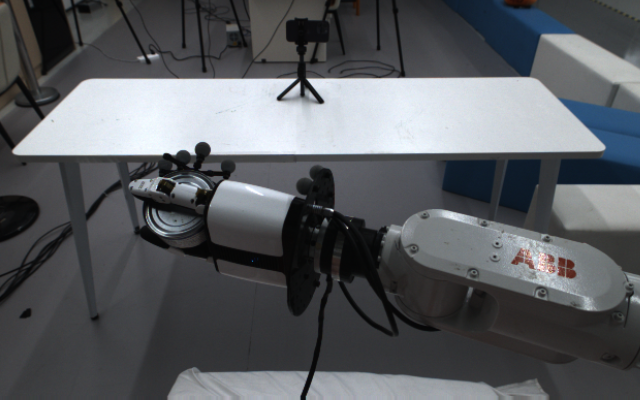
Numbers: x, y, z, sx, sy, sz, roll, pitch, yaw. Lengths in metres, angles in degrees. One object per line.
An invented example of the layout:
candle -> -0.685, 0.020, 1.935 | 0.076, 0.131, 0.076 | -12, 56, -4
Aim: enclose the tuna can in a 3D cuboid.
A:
tuna can -> -0.153, 0.011, 0.552 | 0.085, 0.034, 0.085 | -3, 61, 6
